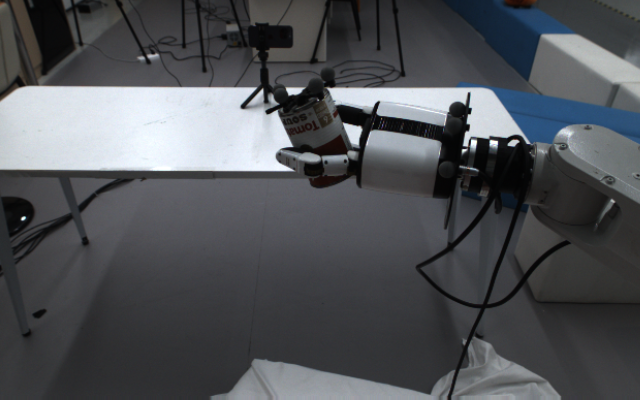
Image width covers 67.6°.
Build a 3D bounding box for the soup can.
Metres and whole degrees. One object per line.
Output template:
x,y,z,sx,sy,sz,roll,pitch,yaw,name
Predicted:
0.001,-0.075,0.589,0.067,0.101,0.067,-21,24,10,soup can
